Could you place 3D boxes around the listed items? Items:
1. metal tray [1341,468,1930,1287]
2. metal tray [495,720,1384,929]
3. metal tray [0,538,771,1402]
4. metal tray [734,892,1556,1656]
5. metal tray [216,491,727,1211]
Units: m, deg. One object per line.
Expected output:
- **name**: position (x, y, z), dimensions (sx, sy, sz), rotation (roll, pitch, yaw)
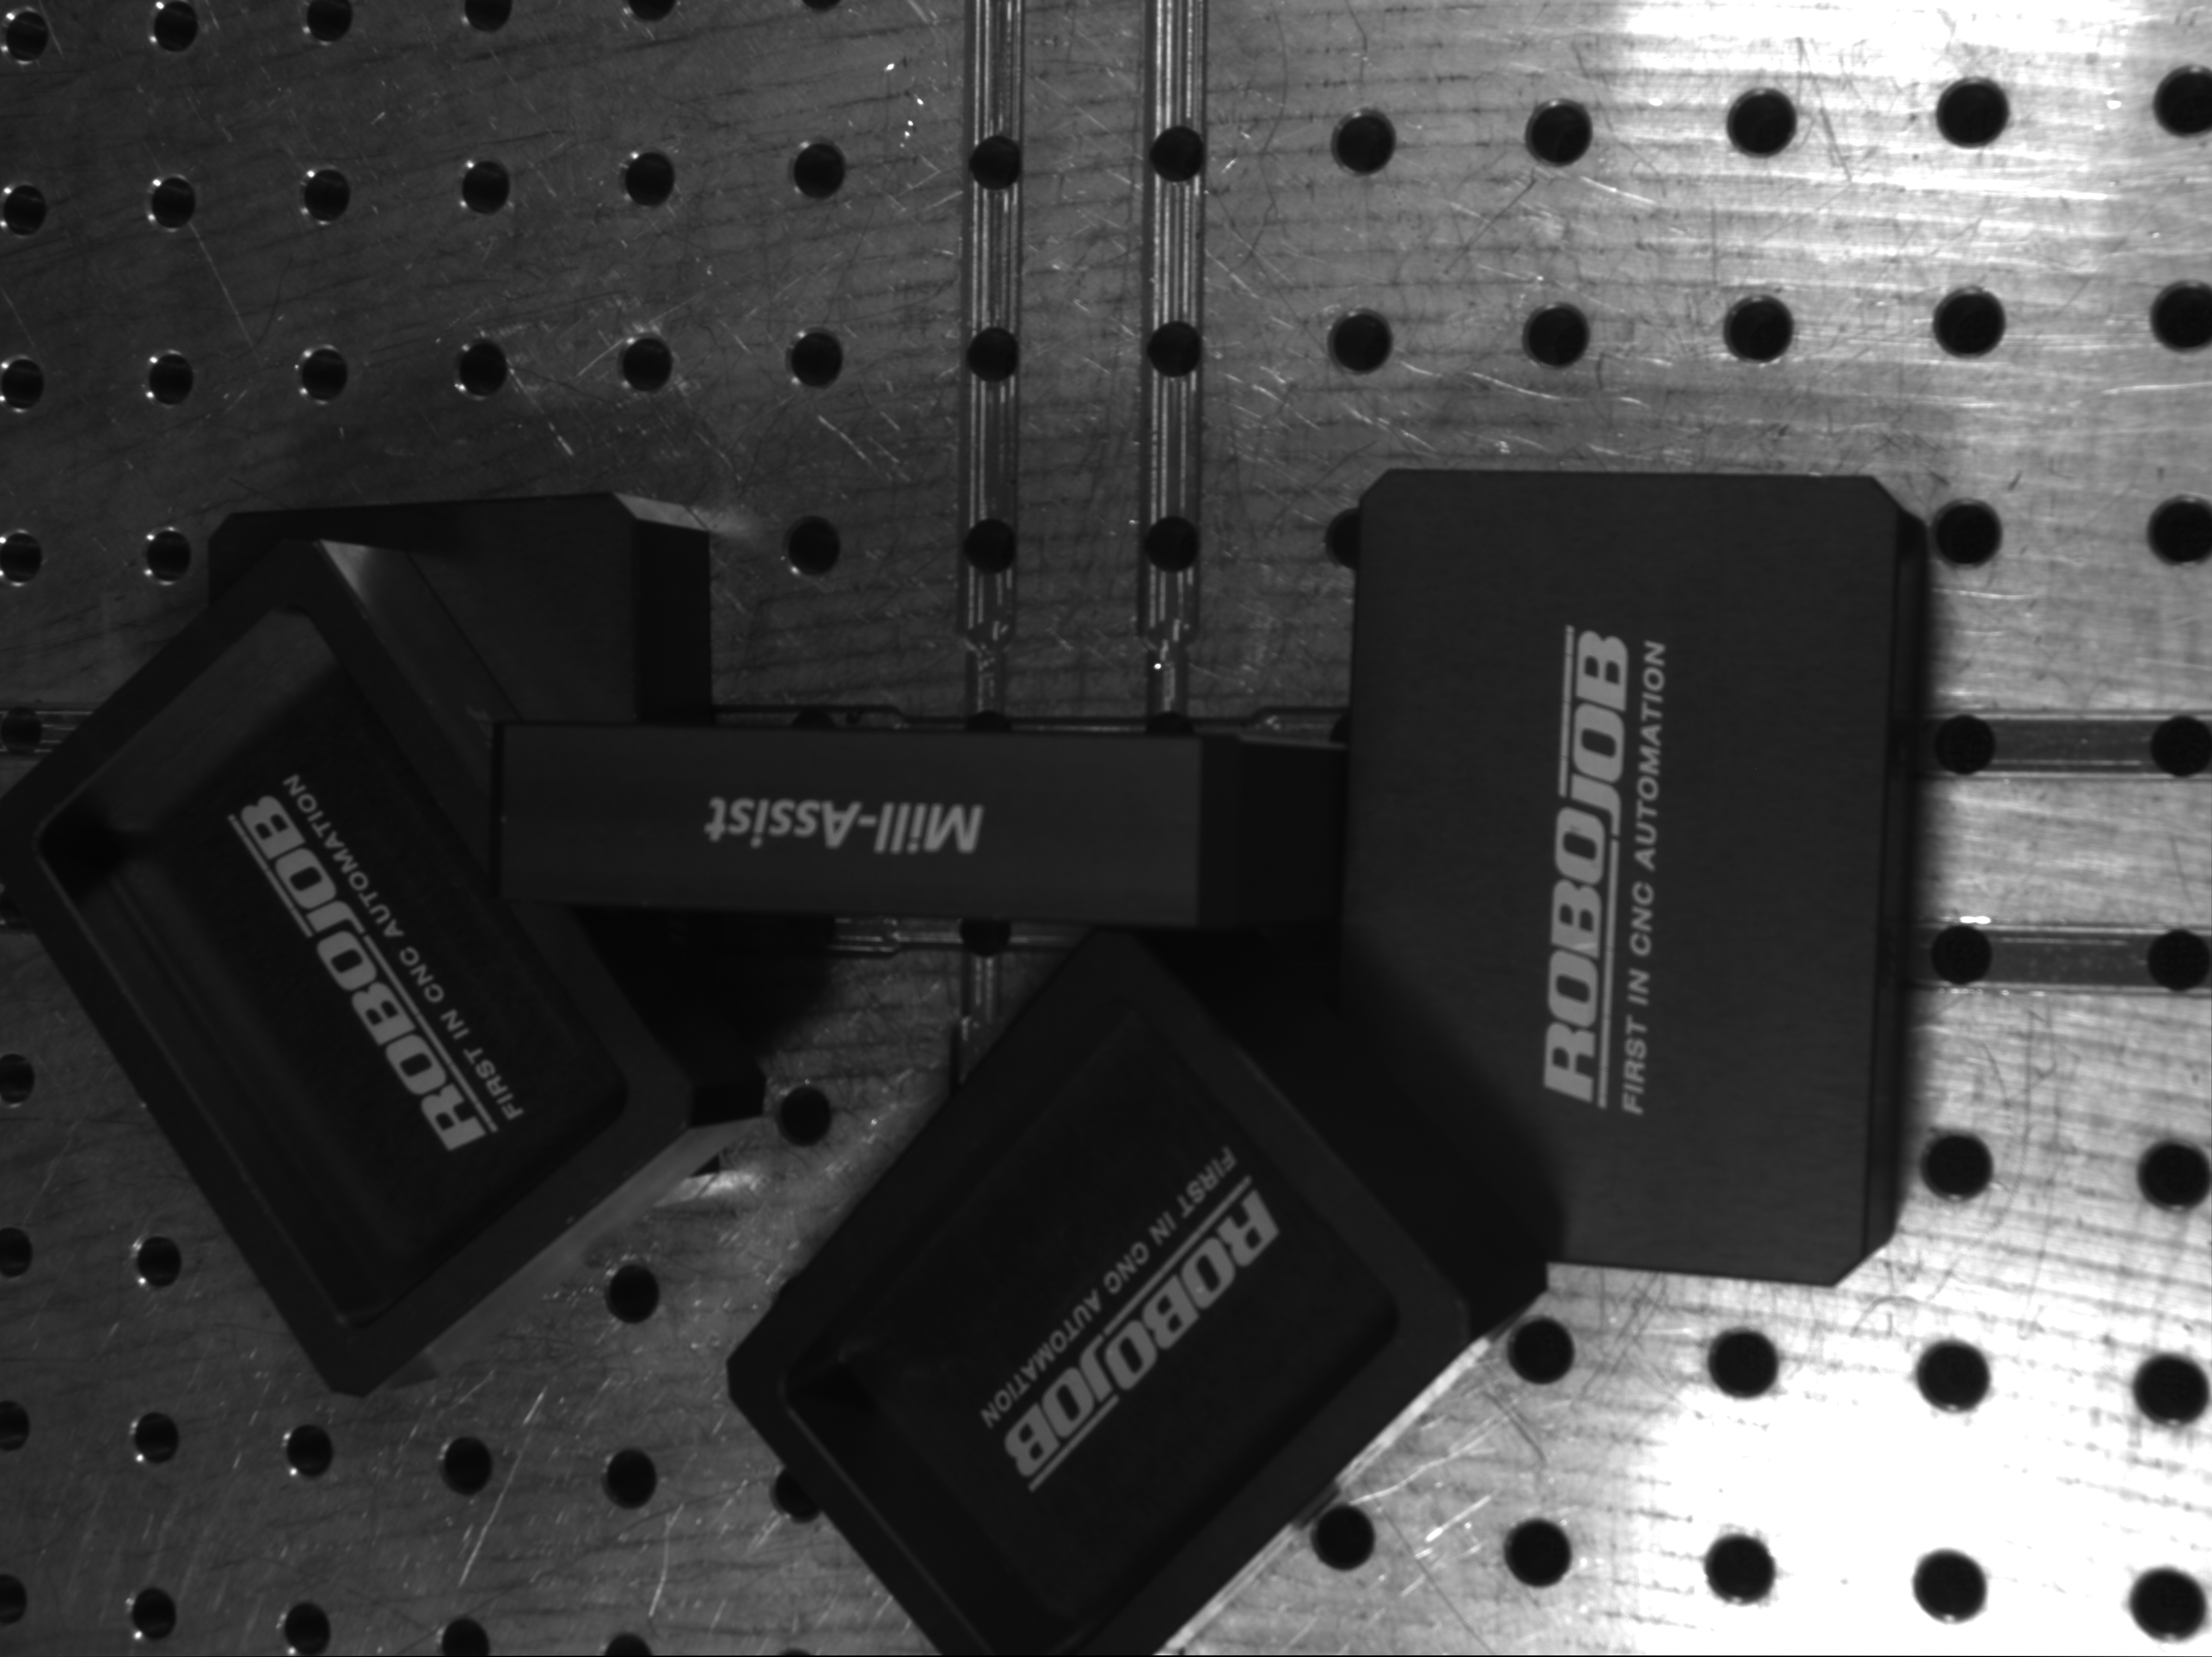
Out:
- **metal tray**: position (0.088, 0.007, 0.612), dimensions (0.090, 0.030, 0.130), rotation (3, 91, 20)
- **metal tray**: position (-0.026, -0.001, 0.621), dimensions (0.130, 0.090, 0.030), rotation (2, 90, 20)
- **metal tray**: position (-0.132, 0.025, 0.657), dimensions (0.090, 0.030, 0.130), rotation (-39, 78, 15)
- **metal tray**: position (0.003, 0.085, 0.623), dimensions (0.090, 0.030, 0.130), rotation (48, 122, 13)
- **metal tray**: position (-0.119, 0.005, 0.687), dimensions (0.090, 0.030, 0.130), rotation (-1, 90, 20)
